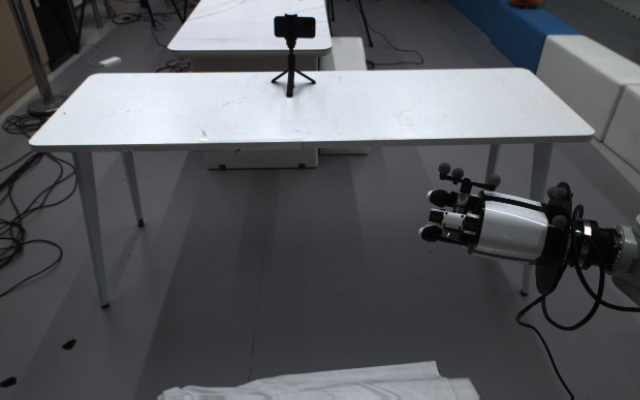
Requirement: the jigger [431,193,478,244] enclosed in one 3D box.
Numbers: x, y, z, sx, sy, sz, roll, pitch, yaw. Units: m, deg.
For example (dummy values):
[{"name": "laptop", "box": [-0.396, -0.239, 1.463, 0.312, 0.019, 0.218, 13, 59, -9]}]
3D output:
[{"name": "jigger", "box": [0.205, 0.023, 0.708, 0.043, 0.071, 0.043, 14, 1, 0]}]
